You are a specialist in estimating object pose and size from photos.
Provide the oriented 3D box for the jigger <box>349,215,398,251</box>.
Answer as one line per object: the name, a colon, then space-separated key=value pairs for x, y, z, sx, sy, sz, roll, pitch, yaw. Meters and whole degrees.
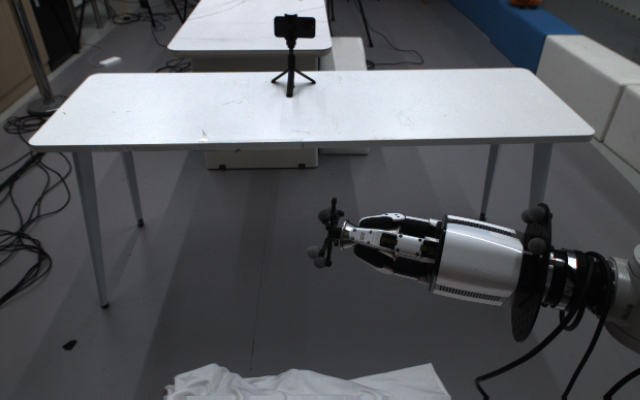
jigger: x=0.069 y=0.043 z=0.595 sx=0.071 sy=0.043 sz=0.043 roll=7 pitch=35 yaw=16
